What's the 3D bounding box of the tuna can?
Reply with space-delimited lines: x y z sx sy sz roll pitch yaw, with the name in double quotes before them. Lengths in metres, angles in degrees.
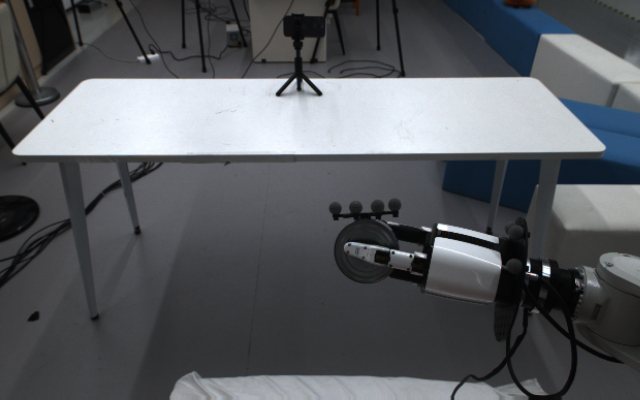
"tuna can" 0.065 0.066 0.648 0.085 0.085 0.034 10 3 11
